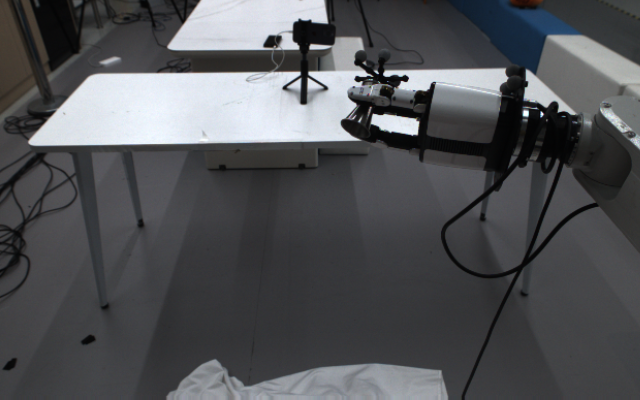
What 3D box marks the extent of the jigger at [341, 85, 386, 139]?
[{"bbox_3d":[0.060,-0.128,0.657,0.043,0.043,0.071,20,73,24],"label":"jigger"}]
